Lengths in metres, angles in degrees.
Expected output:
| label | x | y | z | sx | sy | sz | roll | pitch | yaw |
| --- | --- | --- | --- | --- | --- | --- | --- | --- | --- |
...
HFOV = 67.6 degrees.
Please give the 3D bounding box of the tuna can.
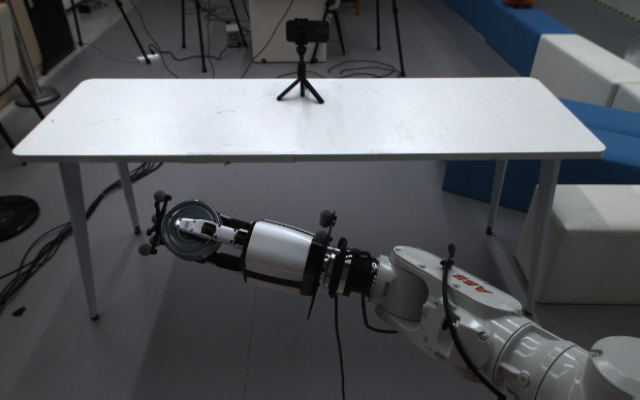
| label | x | y | z | sx | sy | sz | roll | pitch | yaw |
| --- | --- | --- | --- | --- | --- | --- | --- | --- | --- |
| tuna can | -0.180 | 0.047 | 0.691 | 0.085 | 0.034 | 0.085 | 1 | 75 | -4 |
